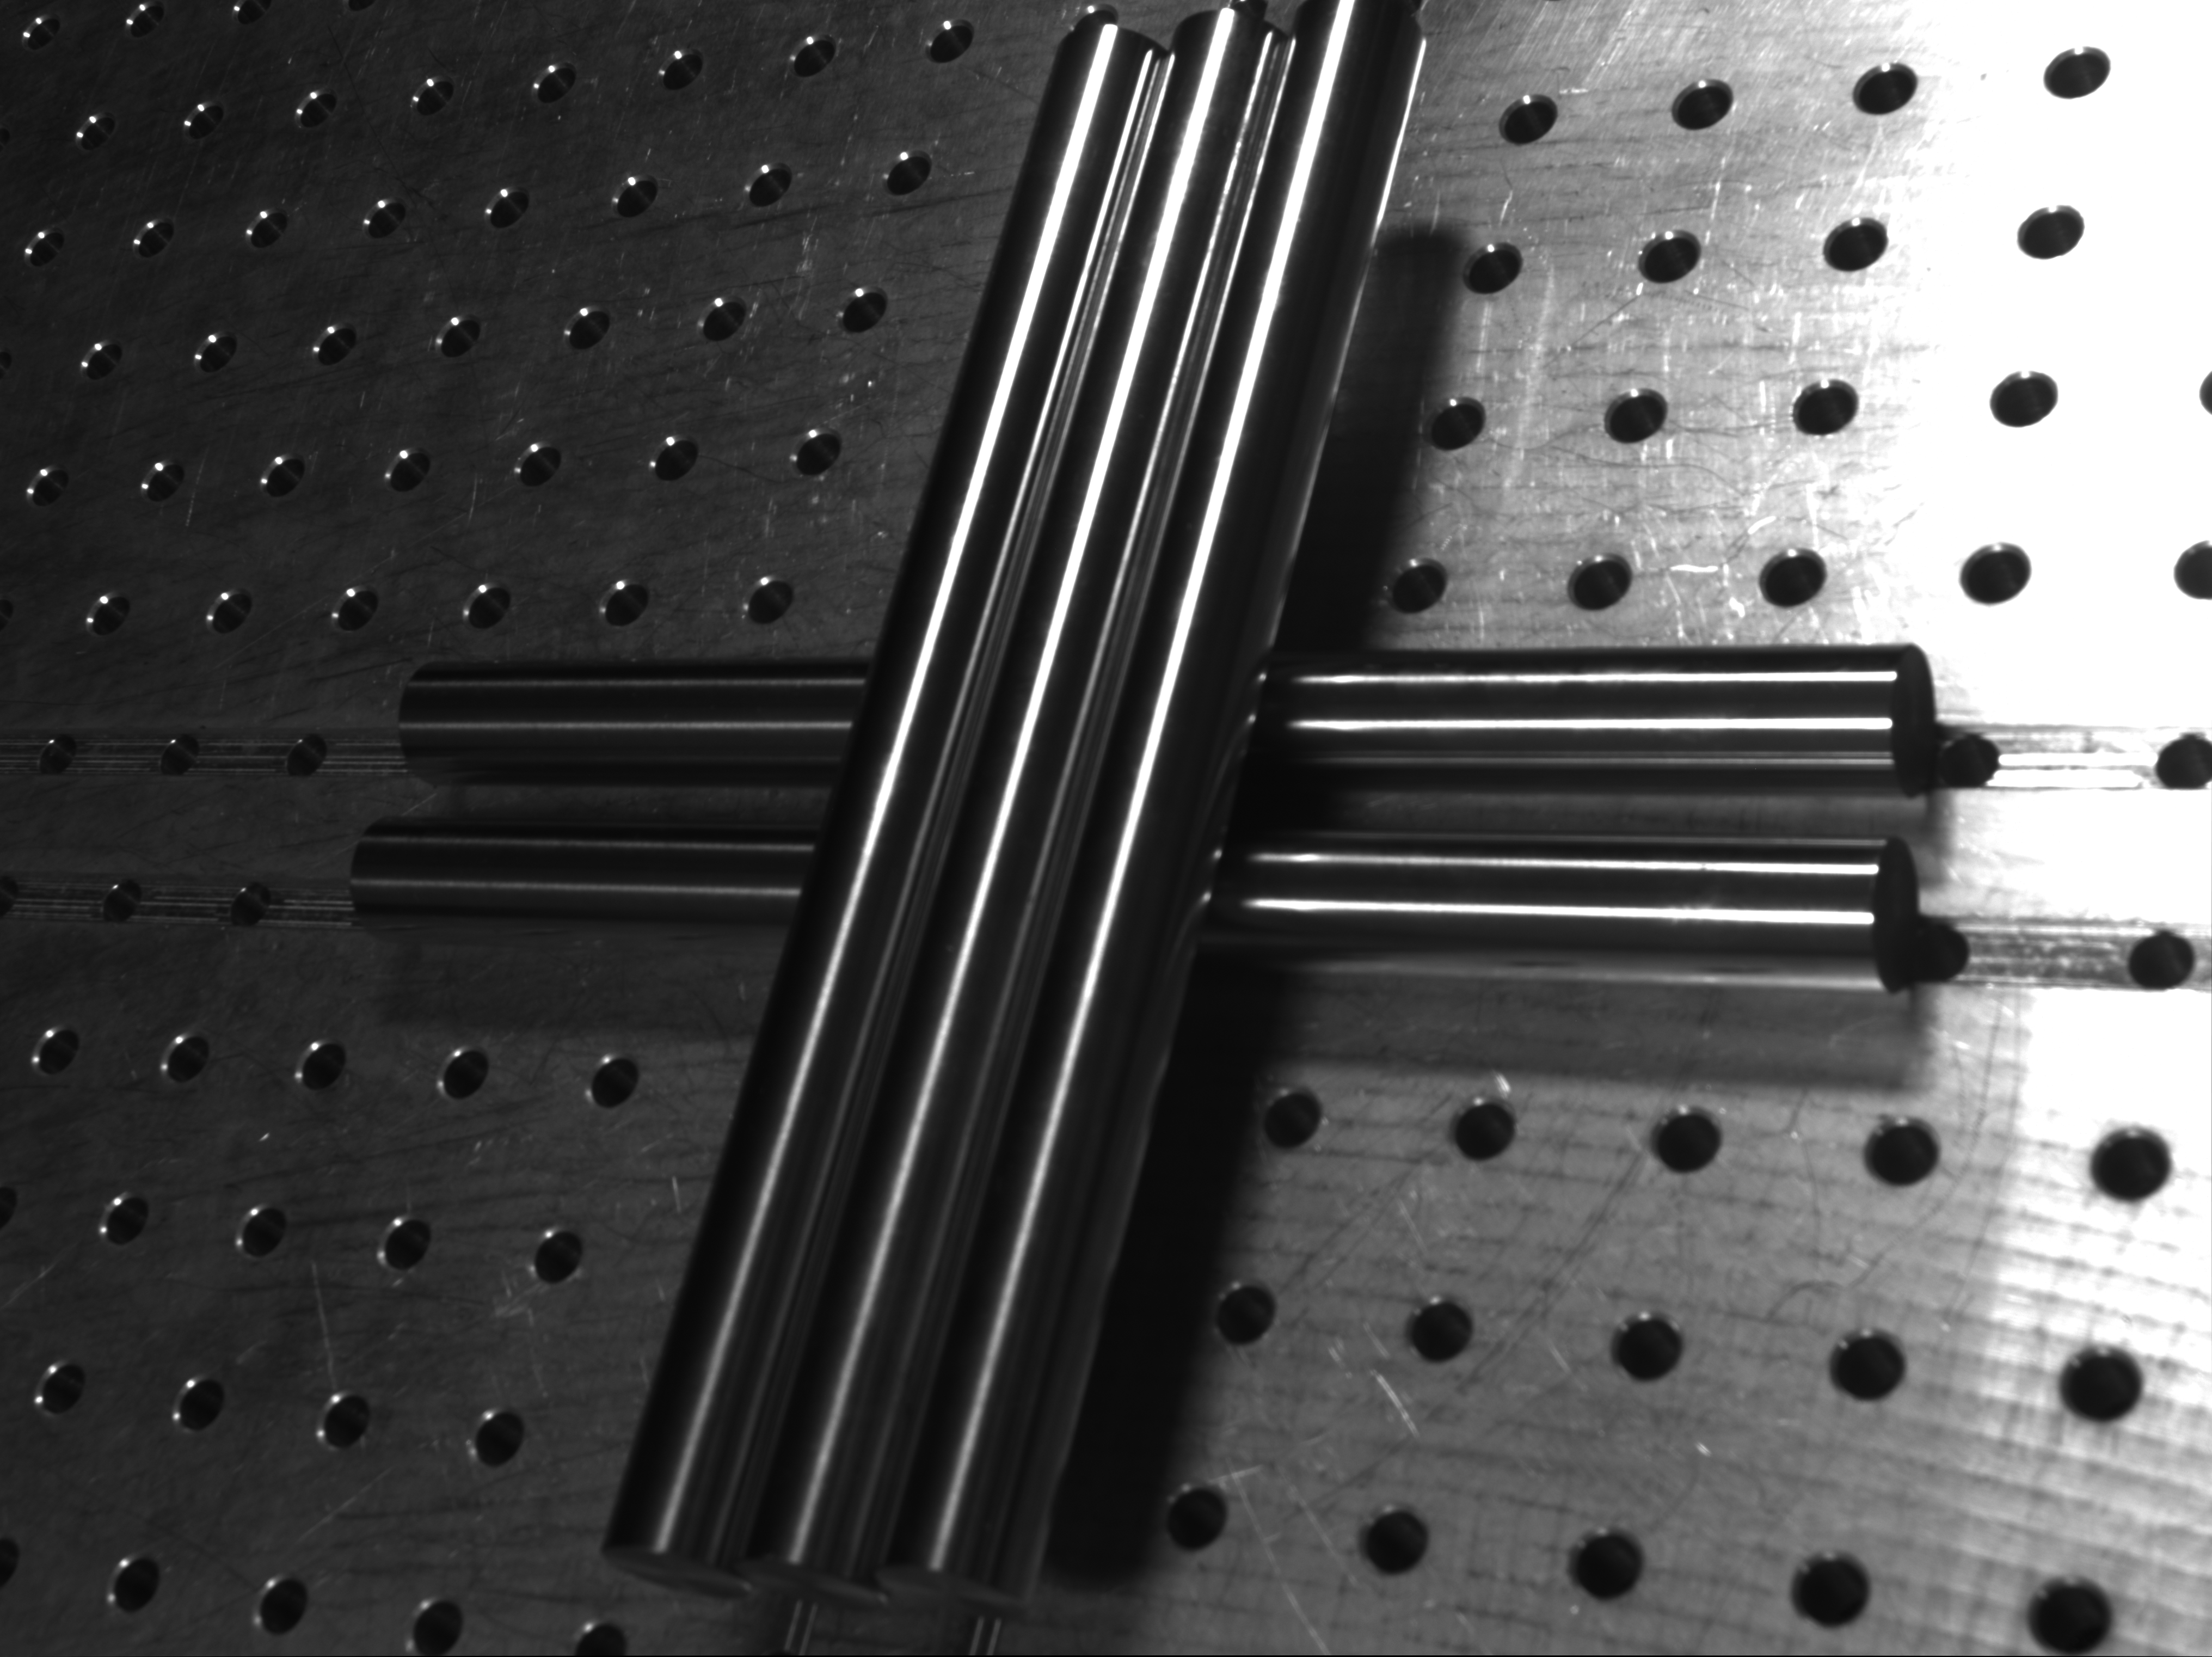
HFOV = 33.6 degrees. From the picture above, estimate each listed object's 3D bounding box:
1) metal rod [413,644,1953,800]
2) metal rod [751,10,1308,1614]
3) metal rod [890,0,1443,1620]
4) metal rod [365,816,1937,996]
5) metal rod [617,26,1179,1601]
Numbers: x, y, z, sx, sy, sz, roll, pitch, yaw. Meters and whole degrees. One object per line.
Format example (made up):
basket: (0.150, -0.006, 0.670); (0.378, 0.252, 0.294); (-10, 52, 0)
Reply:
metal rod: (0.001, -0.019, 0.659); (0.299, 0.025, 0.025); (1, 62, 29)
metal rod: (-0.007, -0.014, 0.628); (0.025, 0.025, 0.300); (1, 62, 29)
metal rod: (0.015, -0.016, 0.617); (0.025, 0.025, 0.300); (1, 62, 29)
metal rod: (-0.005, 0.012, 0.643); (0.299, 0.025, 0.025); (1, 62, 29)
metal rod: (-0.030, -0.014, 0.640); (0.025, 0.025, 0.300); (1, 62, 29)
